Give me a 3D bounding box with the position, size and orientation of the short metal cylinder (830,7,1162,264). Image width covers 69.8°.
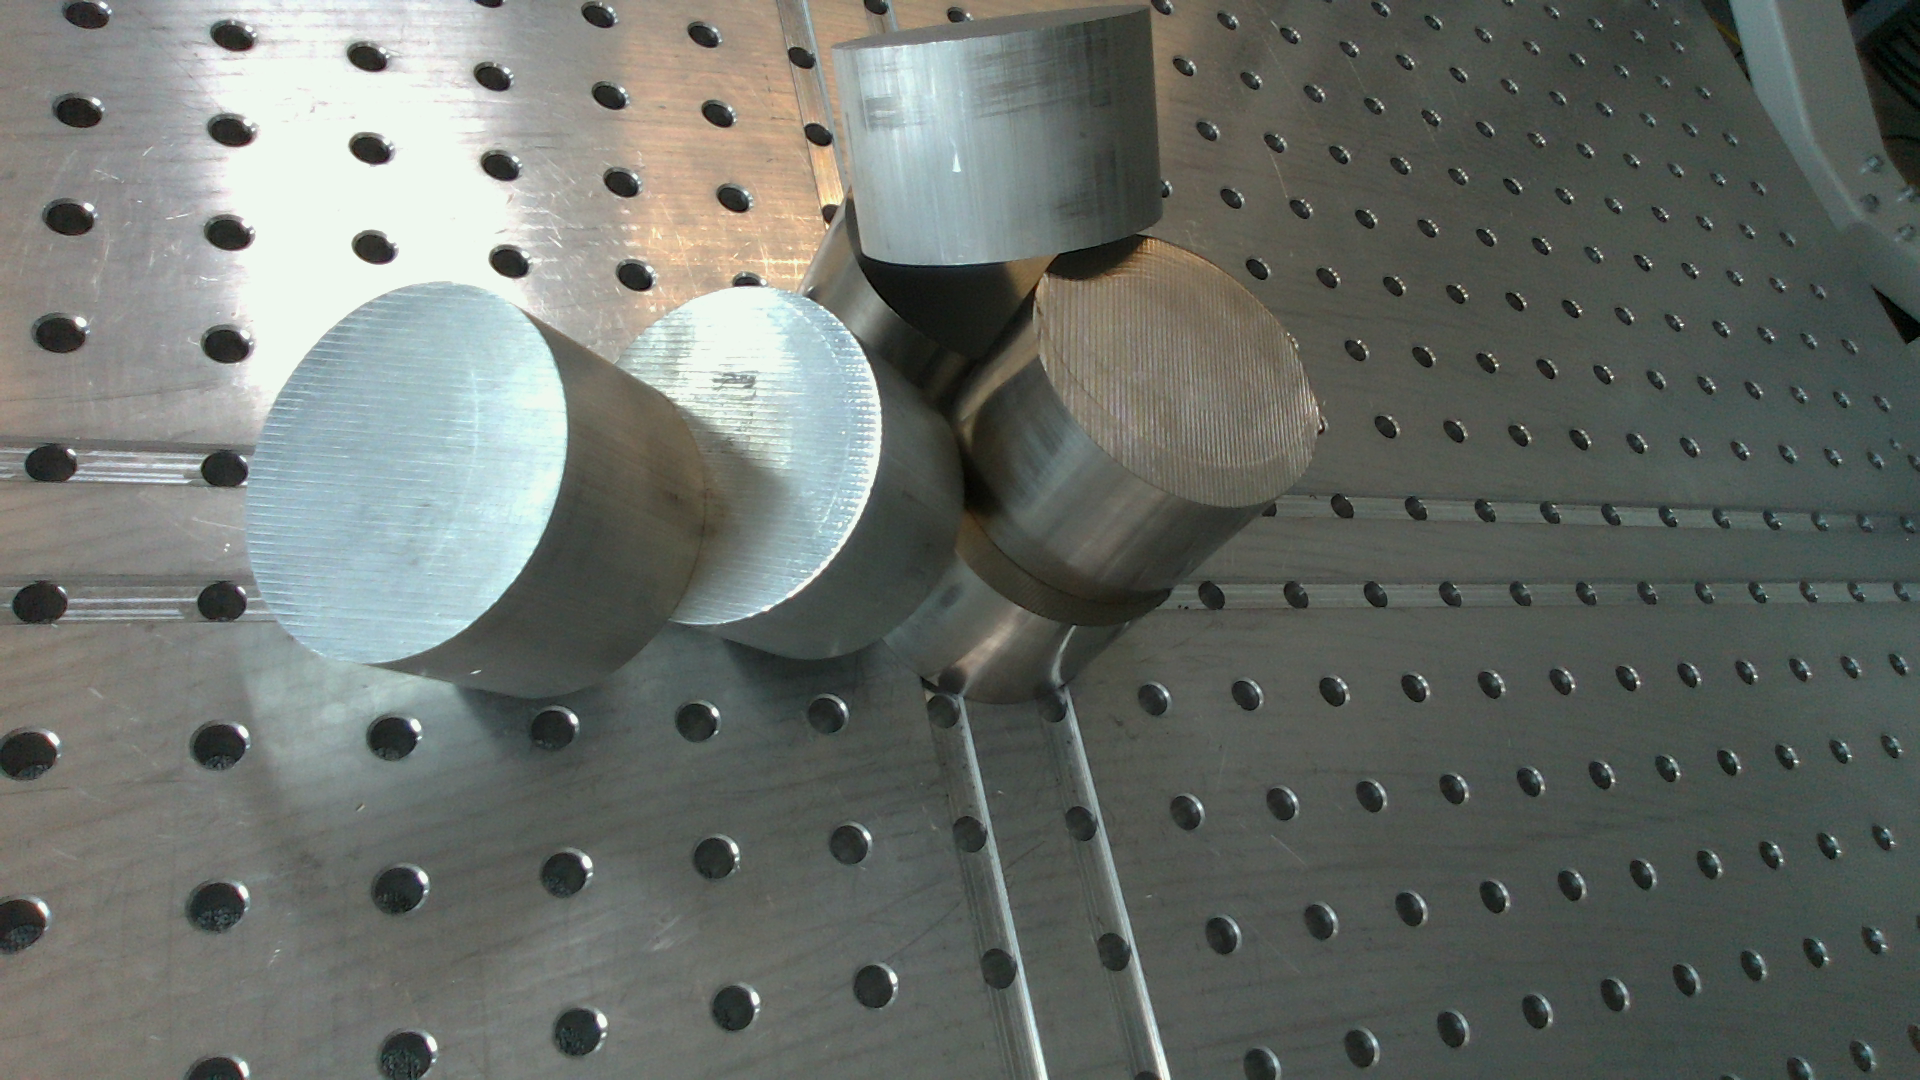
[{"bbox_3d":[0.010,-0.106,0.354,0.080,0.080,0.050,-26,119,-37],"label":"short metal cylinder"}]

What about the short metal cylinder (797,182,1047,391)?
[{"bbox_3d":[-0.007,-0.072,0.417,0.080,0.050,0.080,13,56,-21],"label":"short metal cylinder"}]

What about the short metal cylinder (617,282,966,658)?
[{"bbox_3d":[-0.045,-0.015,0.333,0.050,0.080,0.080,33,33,-64],"label":"short metal cylinder"}]

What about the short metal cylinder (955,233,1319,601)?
[{"bbox_3d":[0.044,-0.031,0.353,0.080,0.050,0.080,14,56,-21],"label":"short metal cylinder"}]

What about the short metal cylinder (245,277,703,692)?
[{"bbox_3d":[-0.104,-0.010,0.299,0.050,0.080,0.080,34,32,-65],"label":"short metal cylinder"}]

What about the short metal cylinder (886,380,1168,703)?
[{"bbox_3d":[0.016,-0.001,0.385,0.080,0.050,0.080,14,56,-21],"label":"short metal cylinder"}]
